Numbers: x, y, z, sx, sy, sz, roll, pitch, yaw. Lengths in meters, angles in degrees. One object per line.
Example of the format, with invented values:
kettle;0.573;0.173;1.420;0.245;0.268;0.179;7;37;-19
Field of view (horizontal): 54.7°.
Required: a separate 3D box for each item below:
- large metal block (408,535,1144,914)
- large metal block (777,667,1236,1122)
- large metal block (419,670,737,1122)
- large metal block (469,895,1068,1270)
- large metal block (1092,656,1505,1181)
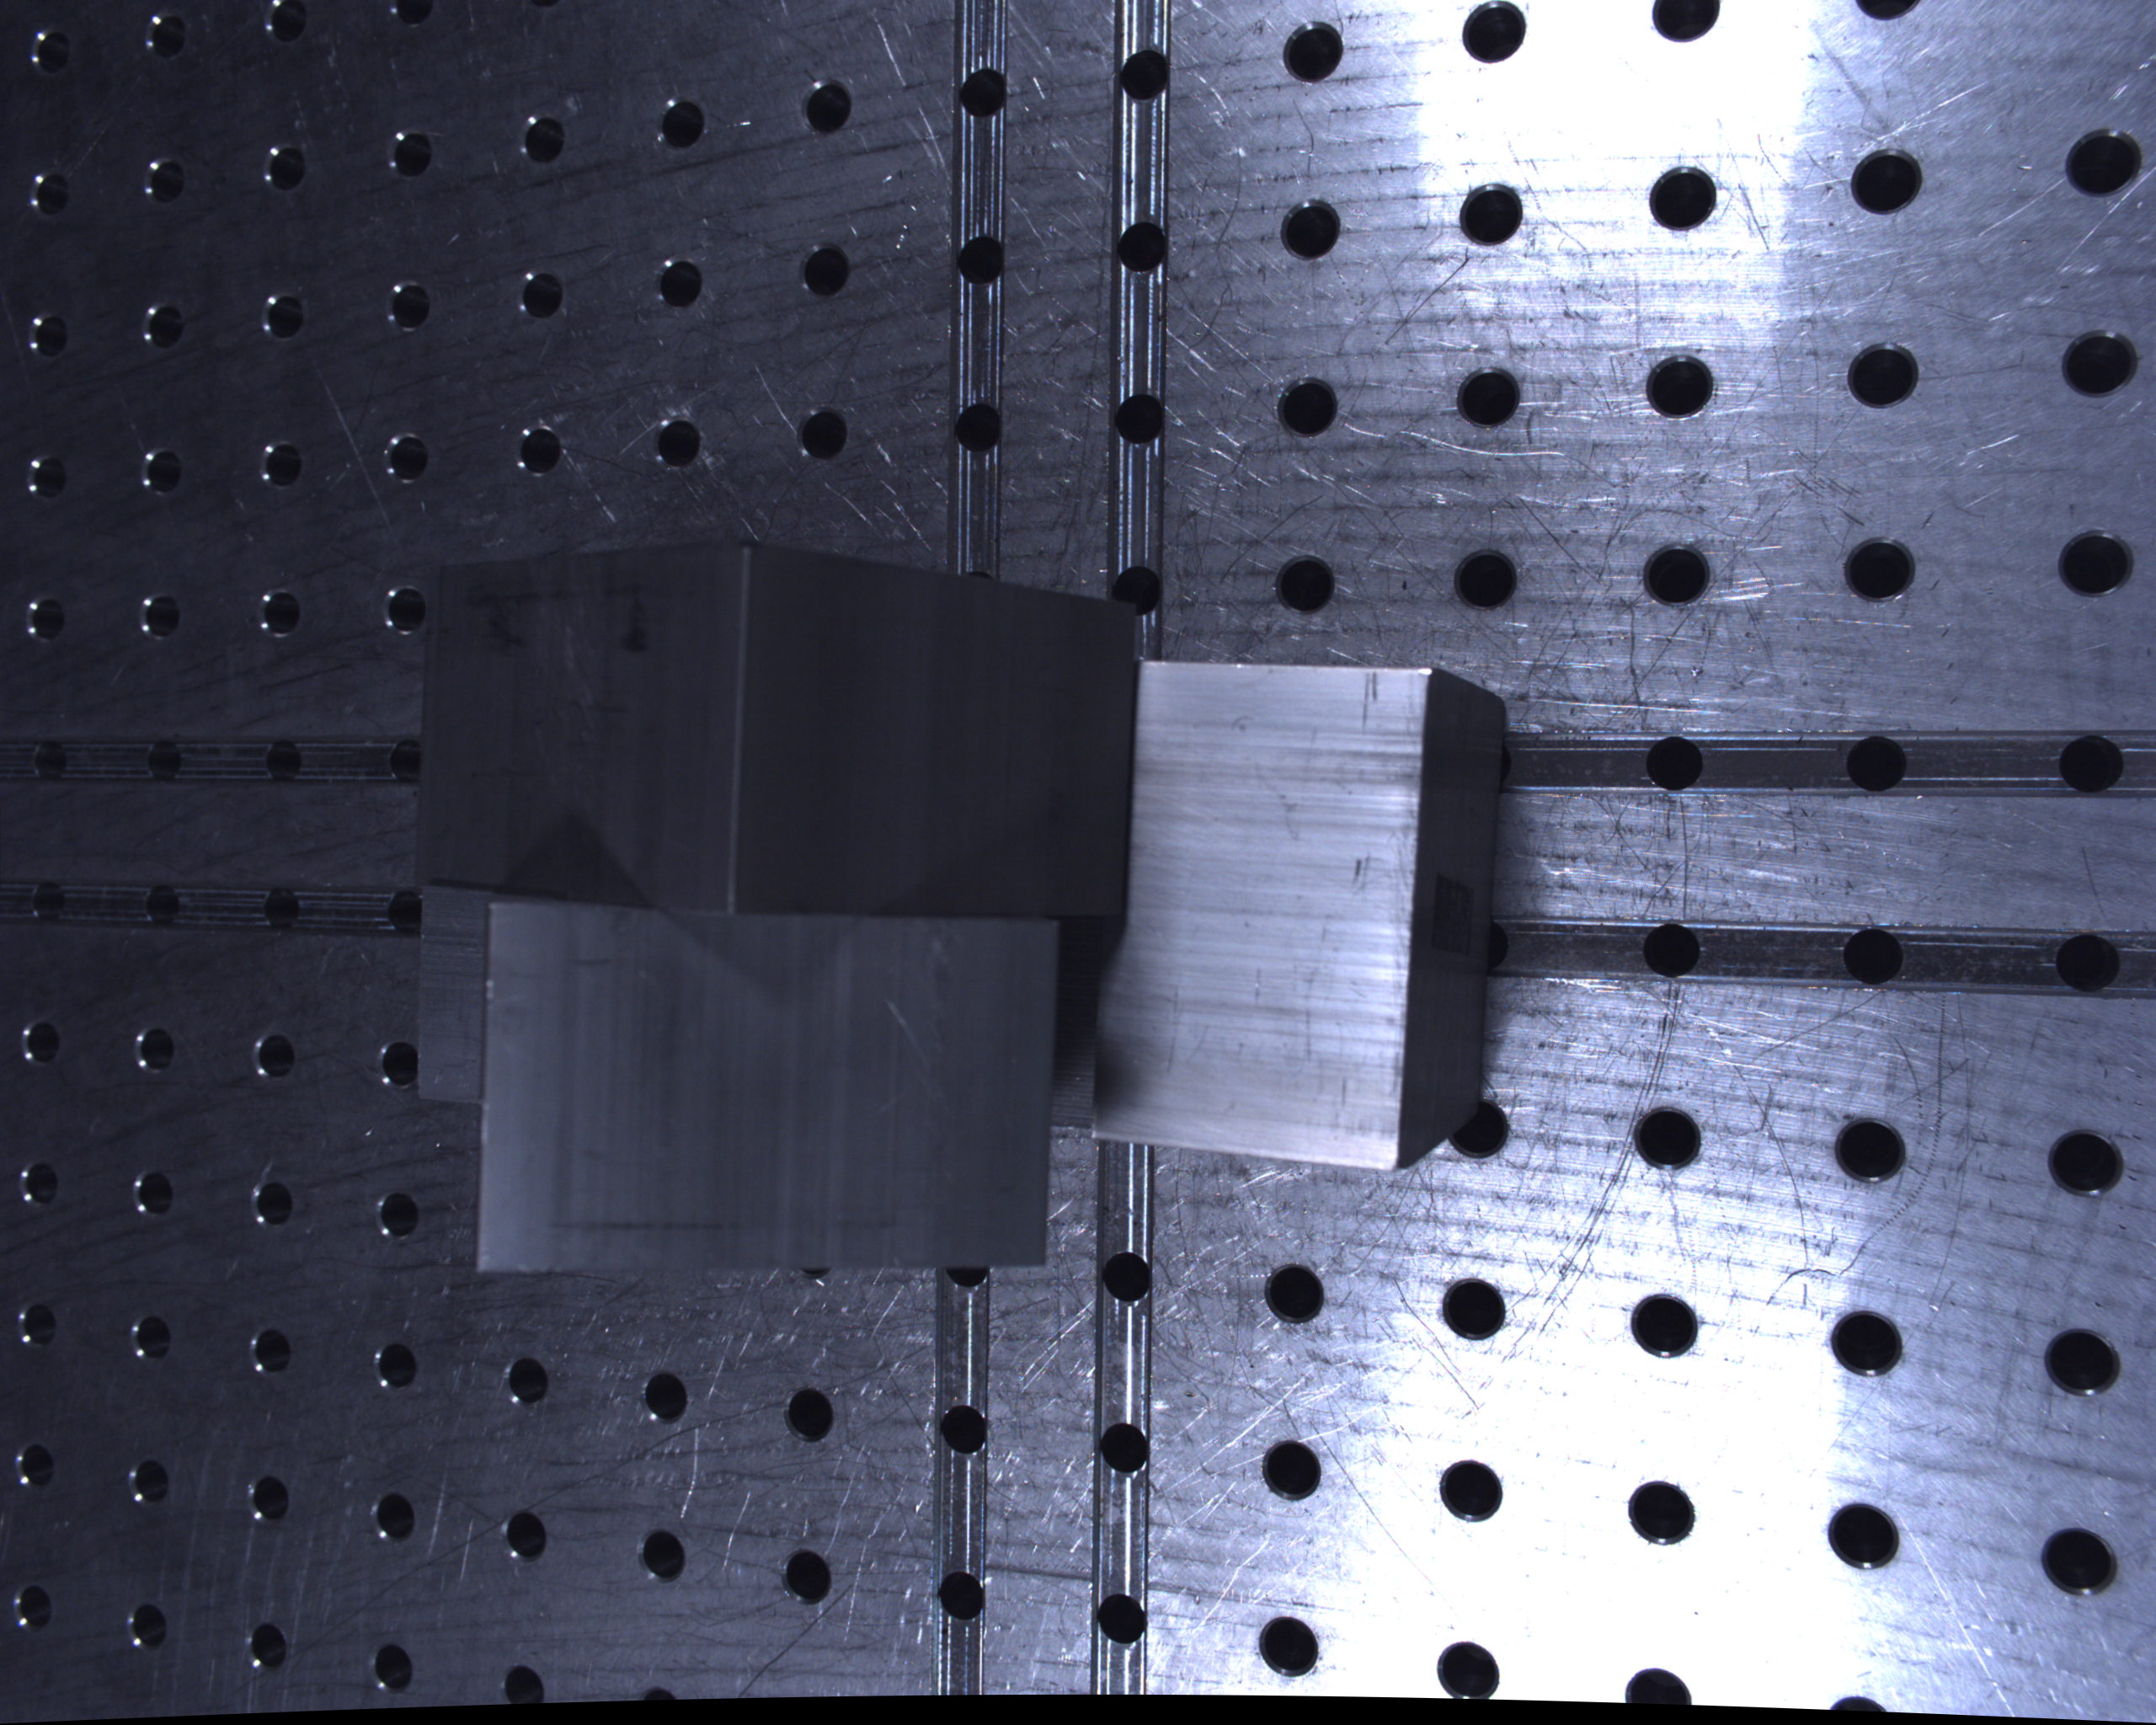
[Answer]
large metal block;-0.047;-0.019;0.331;0.080;0.081;0.050;3;91;42
large metal block;-0.015;0.005;0.401;0.080;0.050;0.079;3;91;19
large metal block;-0.082;0.005;0.411;0.050;0.080;0.079;2;91;20
large metal block;-0.051;0.031;0.329;0.081;0.080;0.050;3;91;-14
large metal block;0.042;0.008;0.368;0.050;0.080;0.079;4;92;20
